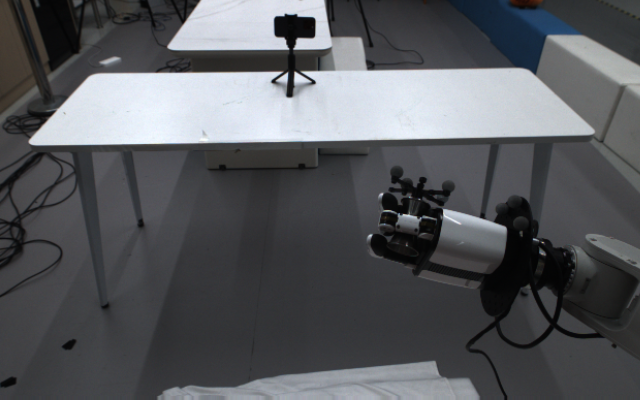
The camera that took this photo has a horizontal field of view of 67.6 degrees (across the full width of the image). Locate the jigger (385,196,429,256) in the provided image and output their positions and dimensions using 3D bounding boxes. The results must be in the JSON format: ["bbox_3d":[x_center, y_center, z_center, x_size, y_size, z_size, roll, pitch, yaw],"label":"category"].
[{"bbox_3d":[0.120,0.034,0.640,0.043,0.043,0.071,13,72,15],"label":"jigger"}]
